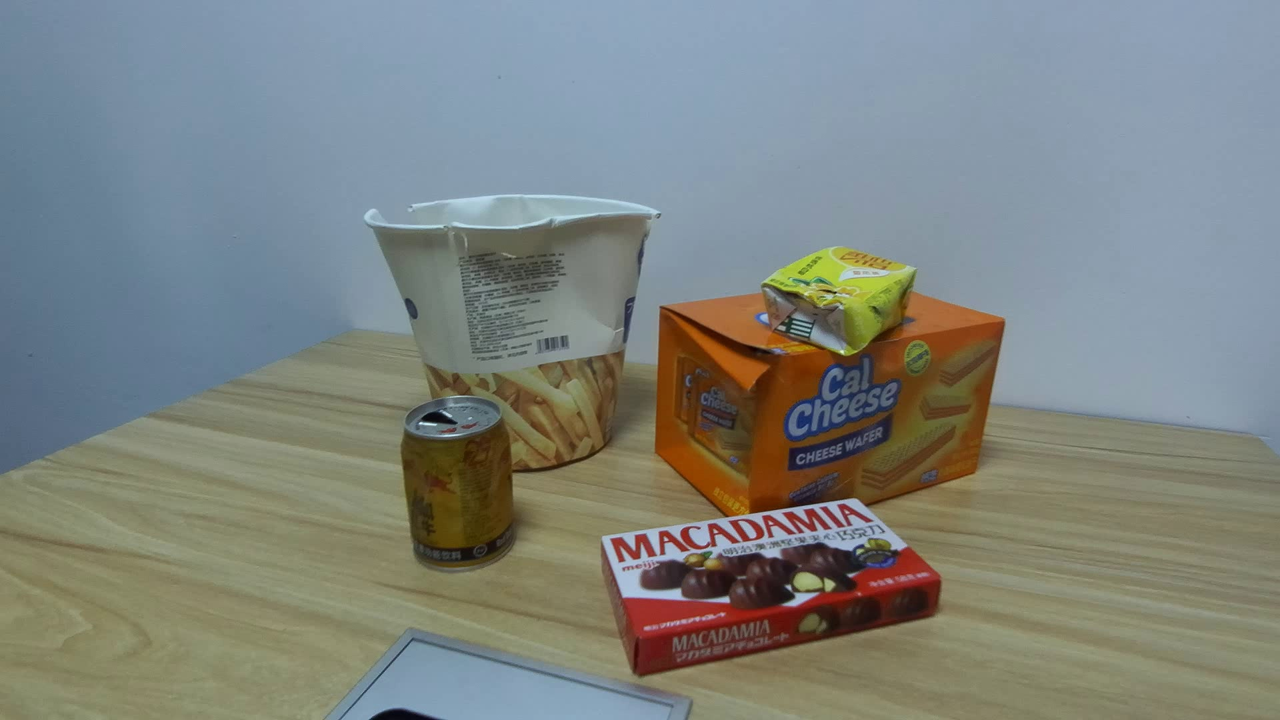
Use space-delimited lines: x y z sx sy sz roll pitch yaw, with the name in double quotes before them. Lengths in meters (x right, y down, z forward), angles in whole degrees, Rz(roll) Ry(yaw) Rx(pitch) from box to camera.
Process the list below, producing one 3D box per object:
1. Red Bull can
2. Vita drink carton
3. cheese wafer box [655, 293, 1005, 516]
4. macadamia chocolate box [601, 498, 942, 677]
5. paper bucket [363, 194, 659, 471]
"Red Bull can" -0.114 0.077 0.451 0.068 0.093 0.068 0 19 0
"Vita drink carton" 0.137 -0.041 0.485 0.086 0.042 0.108 26 34 35
"cheese wafer box" 0.140 0.021 0.551 0.228 0.137 0.149 -9 22 -25
"macadamia chocolate box" 0.072 0.127 0.415 0.178 0.027 0.095 -5 19 -13
"paper bucket" -0.100 -0.029 0.587 0.203 0.197 0.145 -14 24 -35
